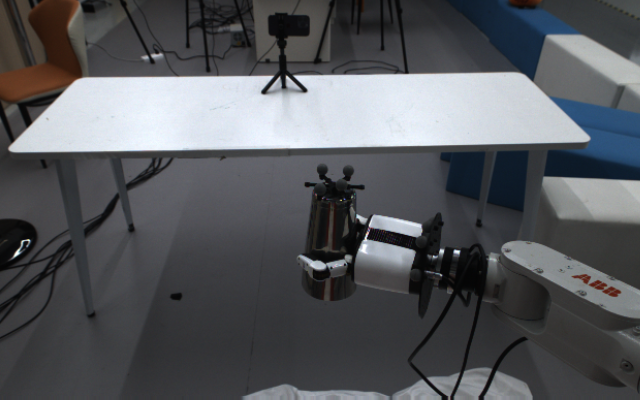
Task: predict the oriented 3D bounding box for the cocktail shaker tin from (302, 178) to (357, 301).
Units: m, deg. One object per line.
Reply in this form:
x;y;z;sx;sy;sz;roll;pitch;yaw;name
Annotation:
0.020;0.060;0.757;0.093;0.170;0.093;2;28;-1;cocktail shaker tin
